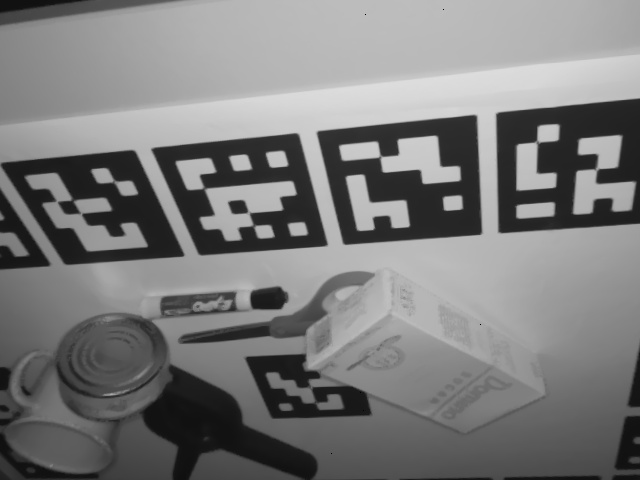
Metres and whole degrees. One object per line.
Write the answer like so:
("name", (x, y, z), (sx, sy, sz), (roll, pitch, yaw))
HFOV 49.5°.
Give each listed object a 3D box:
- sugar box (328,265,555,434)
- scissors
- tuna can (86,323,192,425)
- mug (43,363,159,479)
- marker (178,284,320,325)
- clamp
("sugar box", (0.102, 0.097, 0.571), (0.178, 0.046, 0.091), (32, 126, -26))
("scissors", (-0.006, 0.081, 0.591), (0.201, 0.016, 0.088), (-15, 130, 19))
("tuna can", (-0.153, 0.112, 0.592), (0.086, 0.086, 0.033), (7, 130, 1))
("mug", (-0.199, 0.156, 0.639), (0.092, 0.082, 0.118), (-31, 123, 28))
("marker", (-0.059, 0.054, 0.577), (0.120, 0.020, 0.019), (-10, 126, 13))
("clamp", (-0.087, 0.196, 0.699), (0.164, 0.037, 0.202), (-15, 125, 18))
